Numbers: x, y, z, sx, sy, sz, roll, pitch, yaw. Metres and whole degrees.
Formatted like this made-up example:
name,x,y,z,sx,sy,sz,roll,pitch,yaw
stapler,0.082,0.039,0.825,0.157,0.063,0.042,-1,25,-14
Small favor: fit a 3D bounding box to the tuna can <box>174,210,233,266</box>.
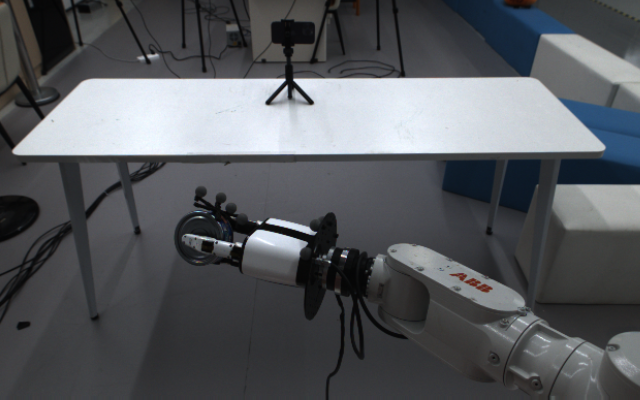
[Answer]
name,x,y,z,sx,sy,sz,roll,pitch,yaw
tuna can,-0.179,0.058,0.744,0.085,0.085,0.034,12,4,14
